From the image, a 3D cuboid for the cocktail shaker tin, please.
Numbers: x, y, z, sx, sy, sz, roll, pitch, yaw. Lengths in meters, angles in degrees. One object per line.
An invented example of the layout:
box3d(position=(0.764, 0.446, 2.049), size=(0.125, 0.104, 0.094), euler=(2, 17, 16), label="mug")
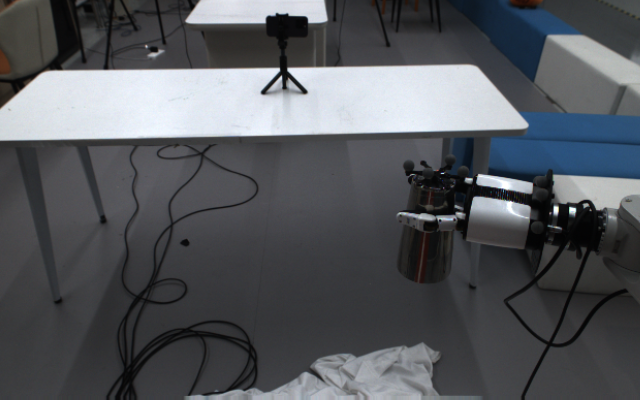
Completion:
box3d(position=(0.179, 0.037, 0.786), size=(0.093, 0.170, 0.093), euler=(-1, 32, 0), label="cocktail shaker tin")
